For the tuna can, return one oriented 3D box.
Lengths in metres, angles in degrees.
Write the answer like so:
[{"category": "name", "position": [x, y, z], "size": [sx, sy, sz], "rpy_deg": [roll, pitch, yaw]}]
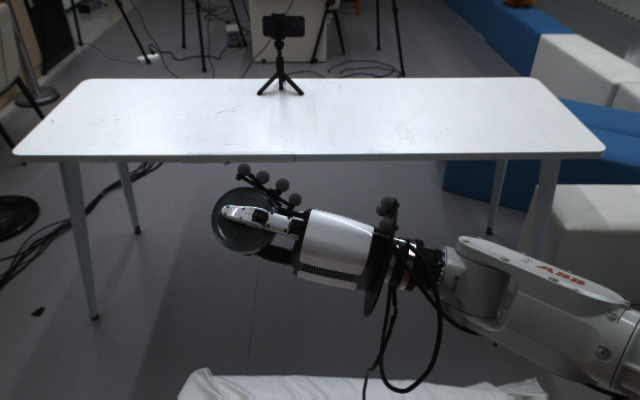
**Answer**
[{"category": "tuna can", "position": [-0.096, 0.028, 0.634], "size": [0.085, 0.034, 0.085], "rpy_deg": [1, 76, -4]}]
